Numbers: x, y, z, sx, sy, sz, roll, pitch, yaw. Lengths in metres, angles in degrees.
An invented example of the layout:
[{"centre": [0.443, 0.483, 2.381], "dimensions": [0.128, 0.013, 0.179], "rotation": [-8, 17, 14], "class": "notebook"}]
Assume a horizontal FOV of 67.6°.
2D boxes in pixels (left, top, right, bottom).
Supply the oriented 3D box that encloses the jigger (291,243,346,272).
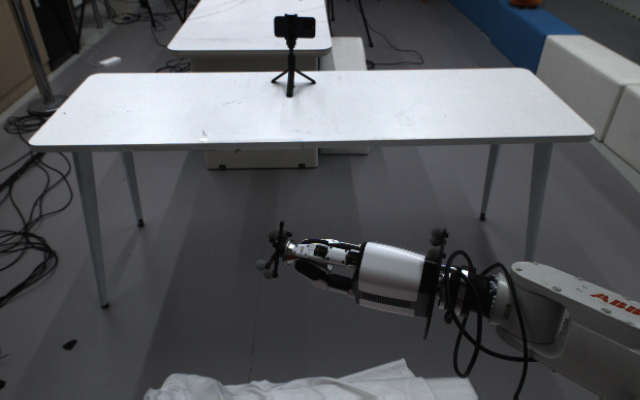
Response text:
[{"centre": [-0.009, 0.079, 0.722], "dimensions": [0.071, 0.043, 0.043], "rotation": [9, 35, 16], "class": "jigger"}]
